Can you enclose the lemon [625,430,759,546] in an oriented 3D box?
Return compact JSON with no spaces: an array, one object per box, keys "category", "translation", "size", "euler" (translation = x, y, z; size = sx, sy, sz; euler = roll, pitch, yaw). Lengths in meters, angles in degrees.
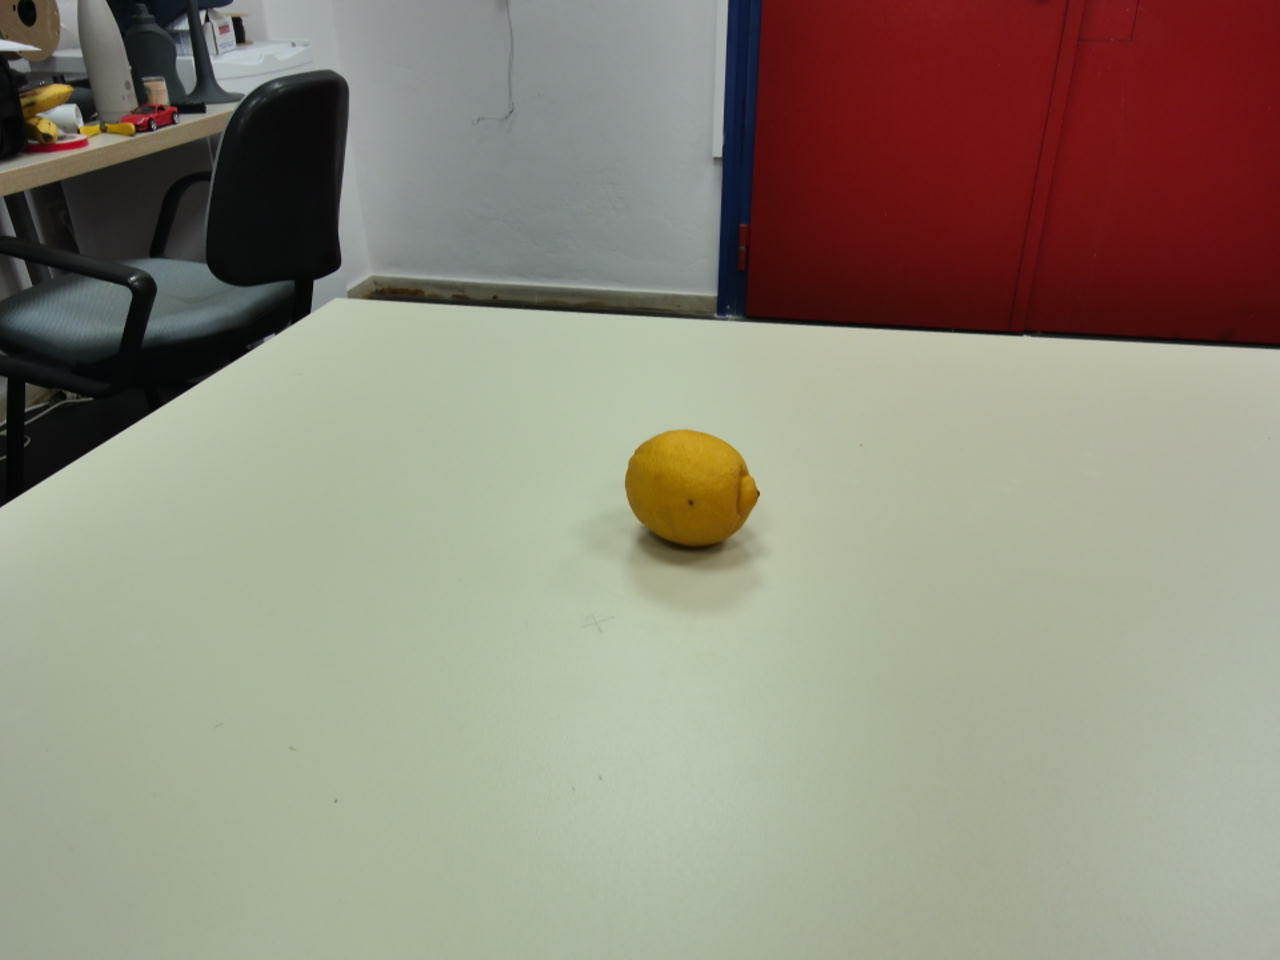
[{"category":"lemon","translation":[0.025,0.005,0.524],"size":[0.060,0.059,0.067],"euler":[-17,30,-32]}]
